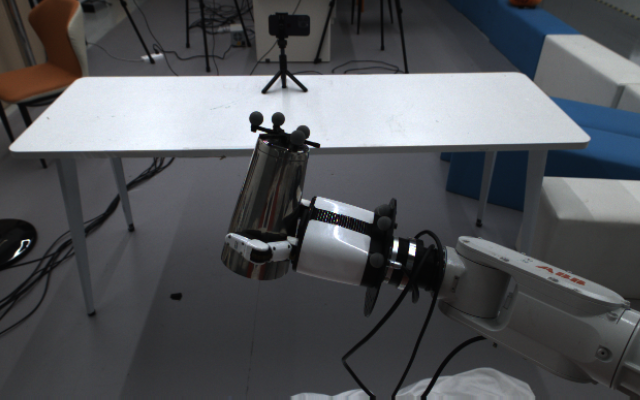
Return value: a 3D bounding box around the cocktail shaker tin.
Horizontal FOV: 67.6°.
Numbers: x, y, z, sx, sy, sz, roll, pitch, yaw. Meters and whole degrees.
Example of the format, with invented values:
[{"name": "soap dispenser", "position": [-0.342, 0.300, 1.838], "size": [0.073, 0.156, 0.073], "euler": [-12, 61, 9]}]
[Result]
[{"name": "cocktail shaker tin", "position": [-0.065, 0.006, 0.623], "size": [0.093, 0.170, 0.093], "euler": [14, 20, -5]}]
